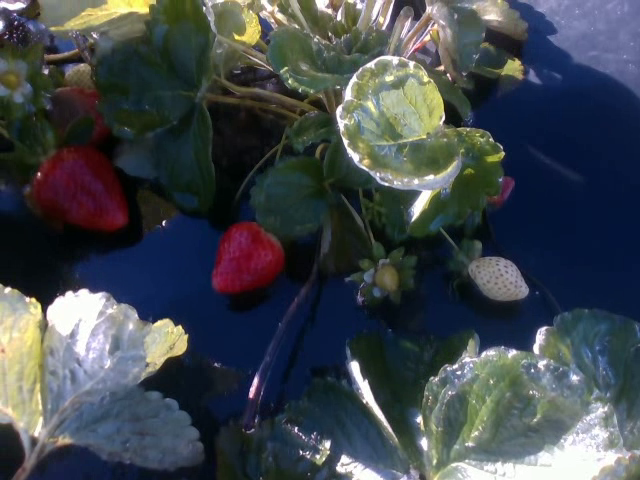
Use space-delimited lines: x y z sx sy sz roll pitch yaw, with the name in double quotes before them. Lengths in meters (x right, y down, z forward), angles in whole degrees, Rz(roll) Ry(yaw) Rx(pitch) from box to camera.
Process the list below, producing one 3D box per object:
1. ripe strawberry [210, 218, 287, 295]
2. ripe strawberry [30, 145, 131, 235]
"ripe strawberry" -0.037 0.011 0.295 0.039 0.047 0.040 35 -18 4
"ripe strawberry" -0.123 -0.024 0.313 0.044 0.056 0.040 -43 -5 -6
